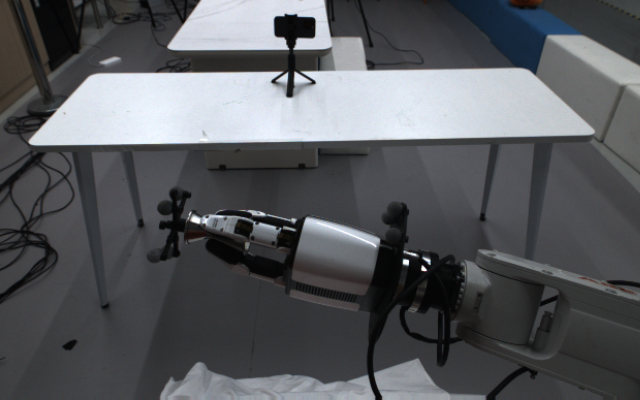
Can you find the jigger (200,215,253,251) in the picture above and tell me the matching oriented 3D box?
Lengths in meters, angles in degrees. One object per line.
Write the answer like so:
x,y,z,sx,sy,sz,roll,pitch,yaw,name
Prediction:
-0.106,0.033,0.545,0.071,0.043,0.043,9,35,1,jigger
